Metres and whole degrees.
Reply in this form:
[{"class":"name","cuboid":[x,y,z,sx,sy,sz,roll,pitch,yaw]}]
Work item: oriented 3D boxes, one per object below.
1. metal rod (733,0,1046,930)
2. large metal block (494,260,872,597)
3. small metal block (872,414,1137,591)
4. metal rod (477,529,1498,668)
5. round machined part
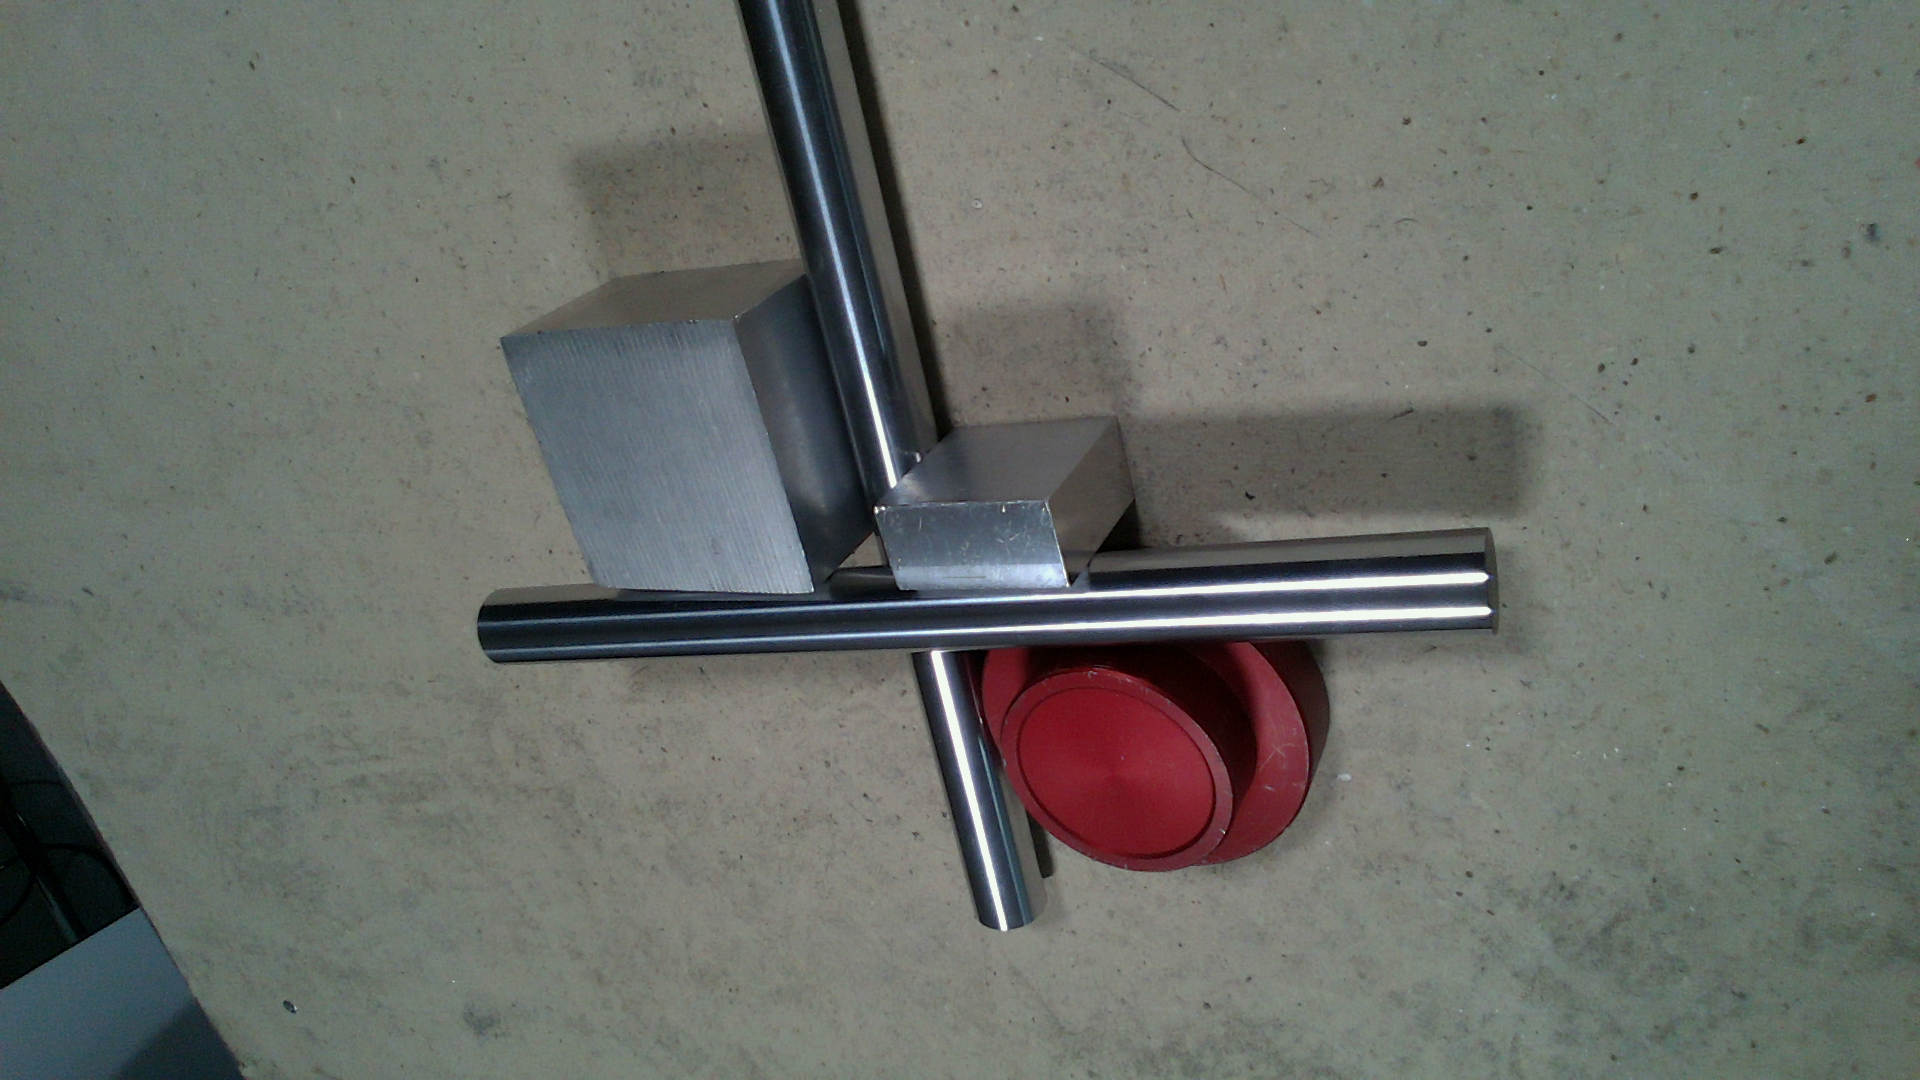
[{"class":"metal rod","cuboid":[-0.014,-0.010,0.394,0.025,0.025,0.300,1,119,28]},{"class":"large metal block","cuboid":[-0.074,-0.032,0.396,0.080,0.050,0.080,1,119,28]},{"class":"small metal block","cuboid":[0.013,-0.010,0.364,0.050,0.050,0.025,-1,118,29]},{"class":"metal rod","cuboid":[-0.012,0.020,0.380,0.299,0.025,0.025,-4,117,26]},{"class":"round machined part","cuboid":[0.050,0.055,0.388,0.098,0.042,0.098,13,124,21]}]
